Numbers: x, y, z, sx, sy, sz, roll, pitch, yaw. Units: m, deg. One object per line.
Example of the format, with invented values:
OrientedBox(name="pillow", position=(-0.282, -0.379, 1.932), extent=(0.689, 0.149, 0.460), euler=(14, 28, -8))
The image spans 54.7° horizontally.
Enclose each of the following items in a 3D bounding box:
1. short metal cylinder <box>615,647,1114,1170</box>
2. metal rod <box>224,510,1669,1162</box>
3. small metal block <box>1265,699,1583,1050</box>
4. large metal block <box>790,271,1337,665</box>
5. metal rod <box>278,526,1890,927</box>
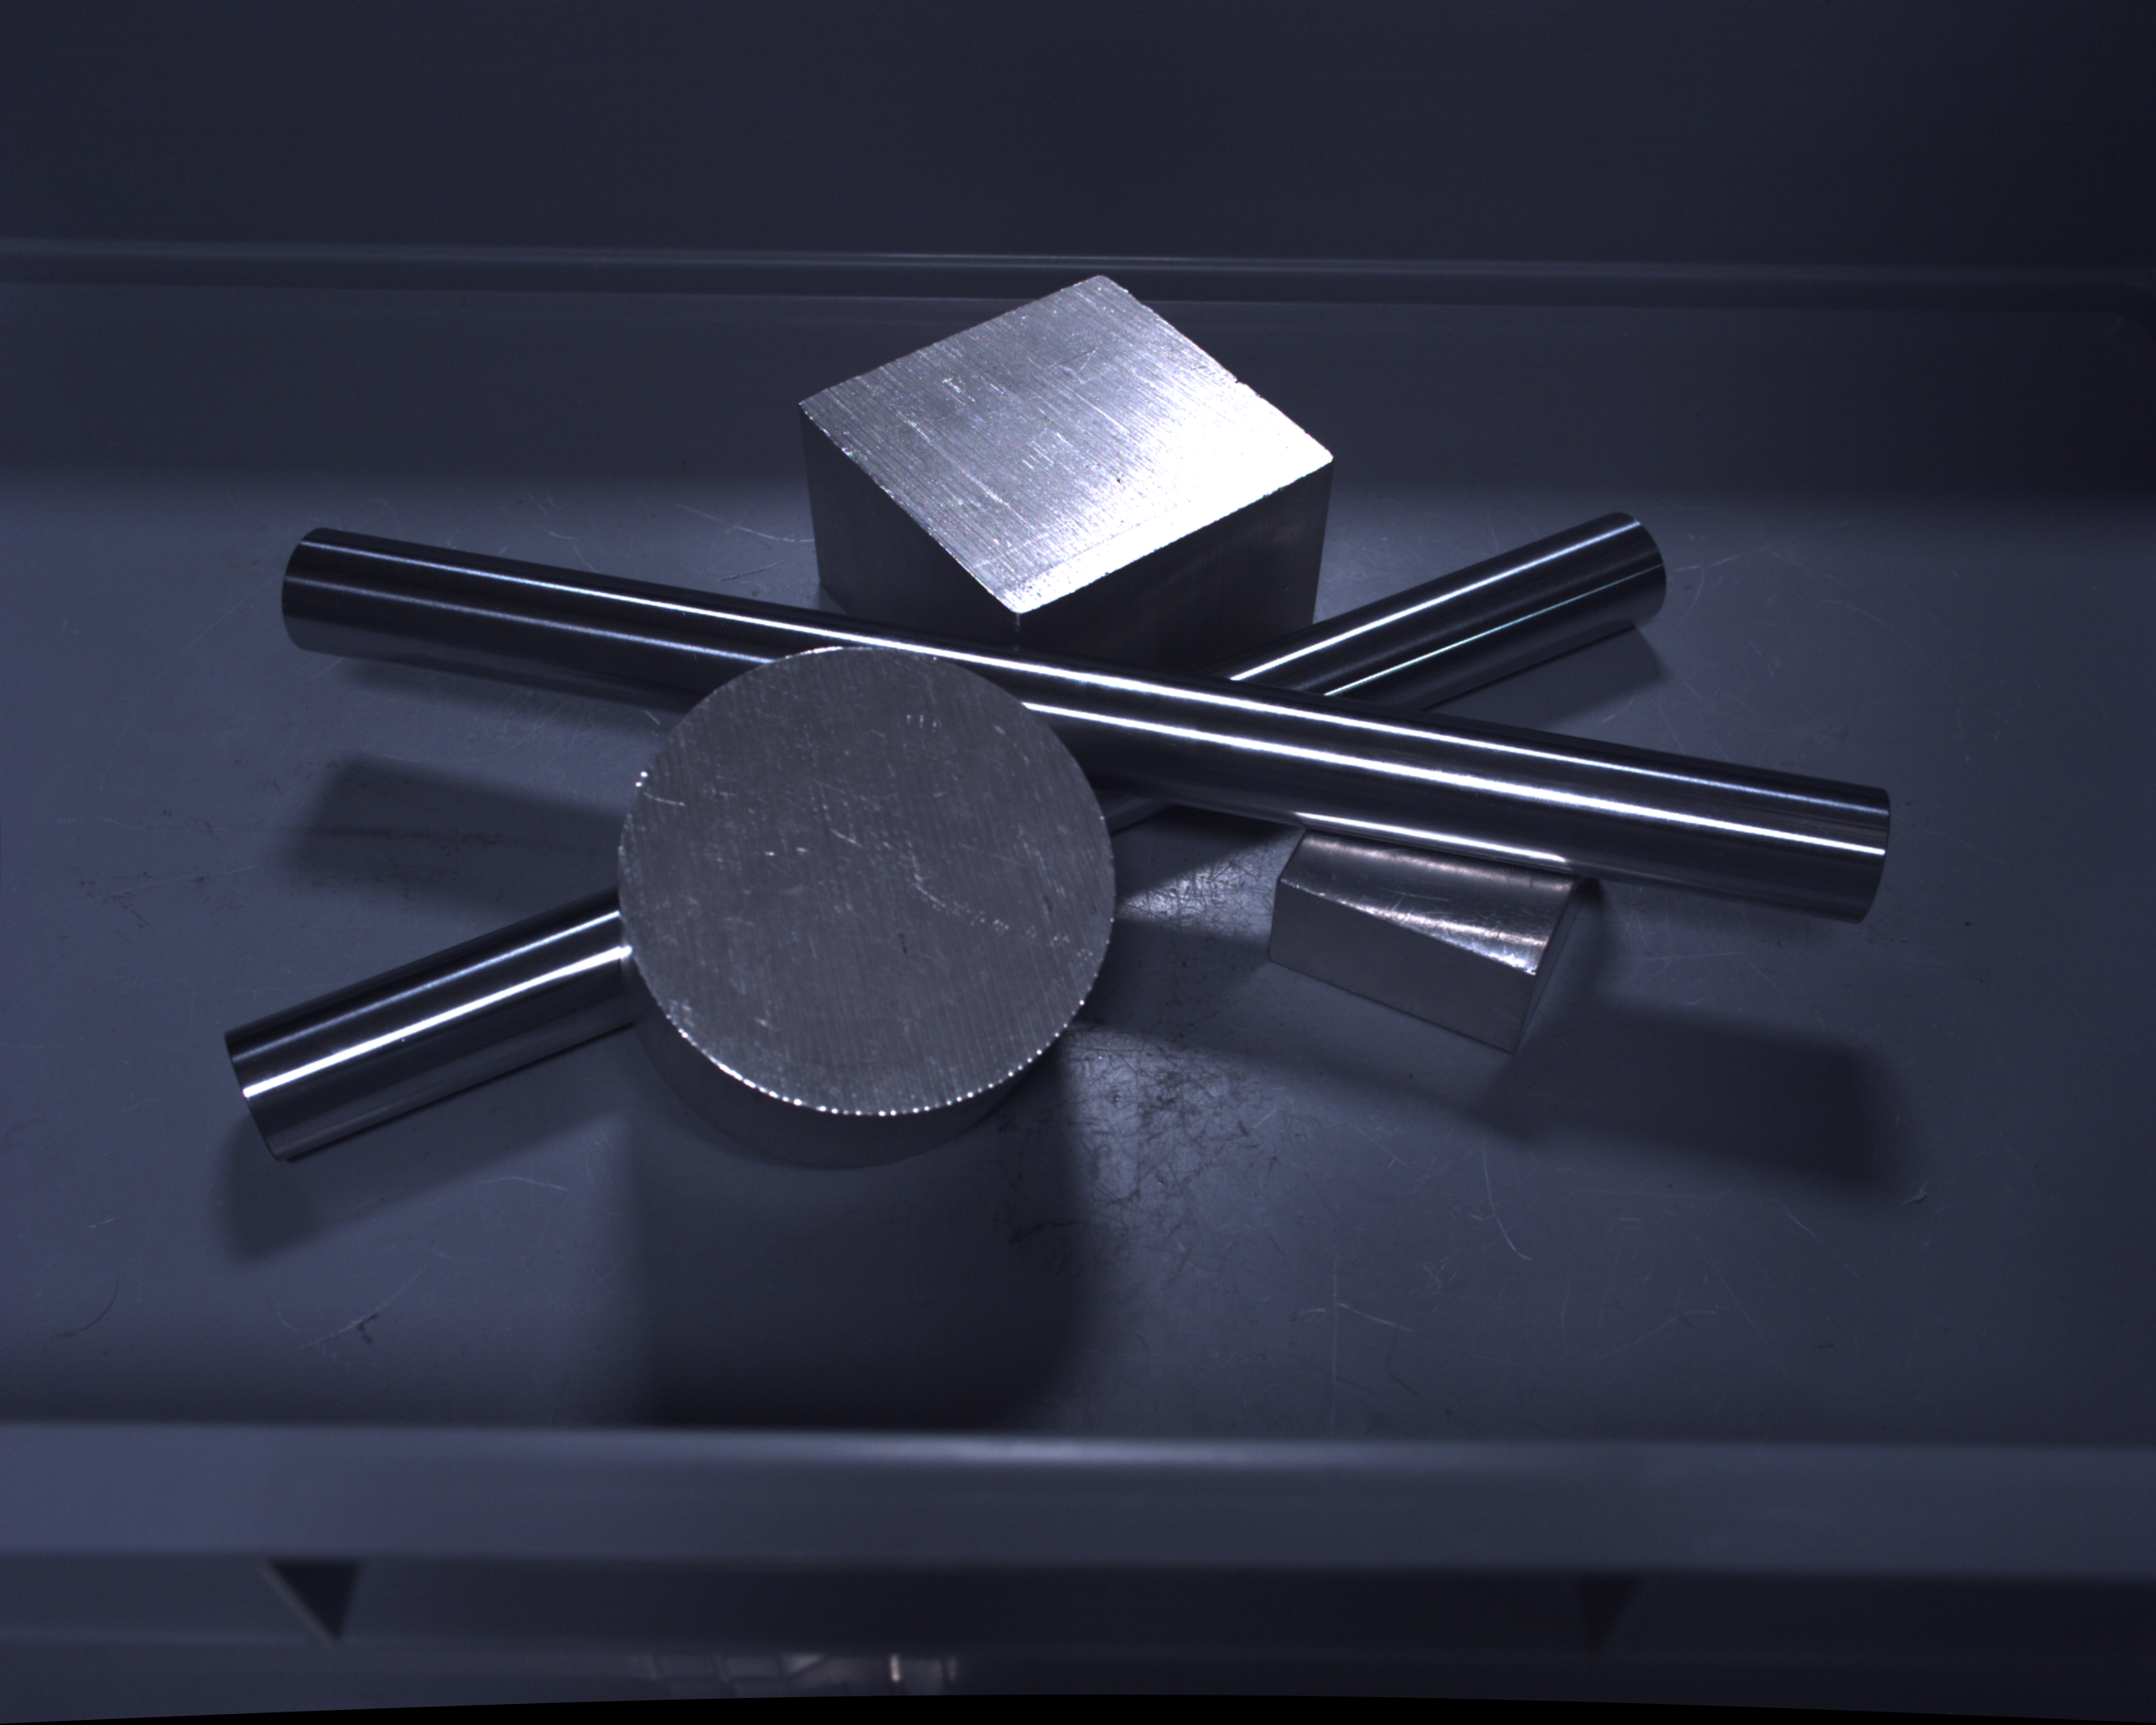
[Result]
OrientedBox(name="short metal cylinder", position=(-0.039, 0.009, 0.360), extent=(0.081, 0.050, 0.080), euler=(4, 71, -11))
OrientedBox(name="metal rod", position=(-0.012, -0.012, 0.413), extent=(0.302, 0.025, 0.025), euler=(-22, 54, -18))
OrientedBox(name="small metal block", position=(0.070, 0.001, 0.401), extent=(0.050, 0.025, 0.050), euler=(21, 53, 16))
OrientedBox(name="large metal block", position=(-0.004, -0.073, 0.448), extent=(0.081, 0.050, 0.080), euler=(-29, 56, -23))
OrientedBox(name="metal rod", position=(-0.005, -0.028, 0.394), extent=(0.301, 0.025, 0.025), euler=(10, 51, 8))
